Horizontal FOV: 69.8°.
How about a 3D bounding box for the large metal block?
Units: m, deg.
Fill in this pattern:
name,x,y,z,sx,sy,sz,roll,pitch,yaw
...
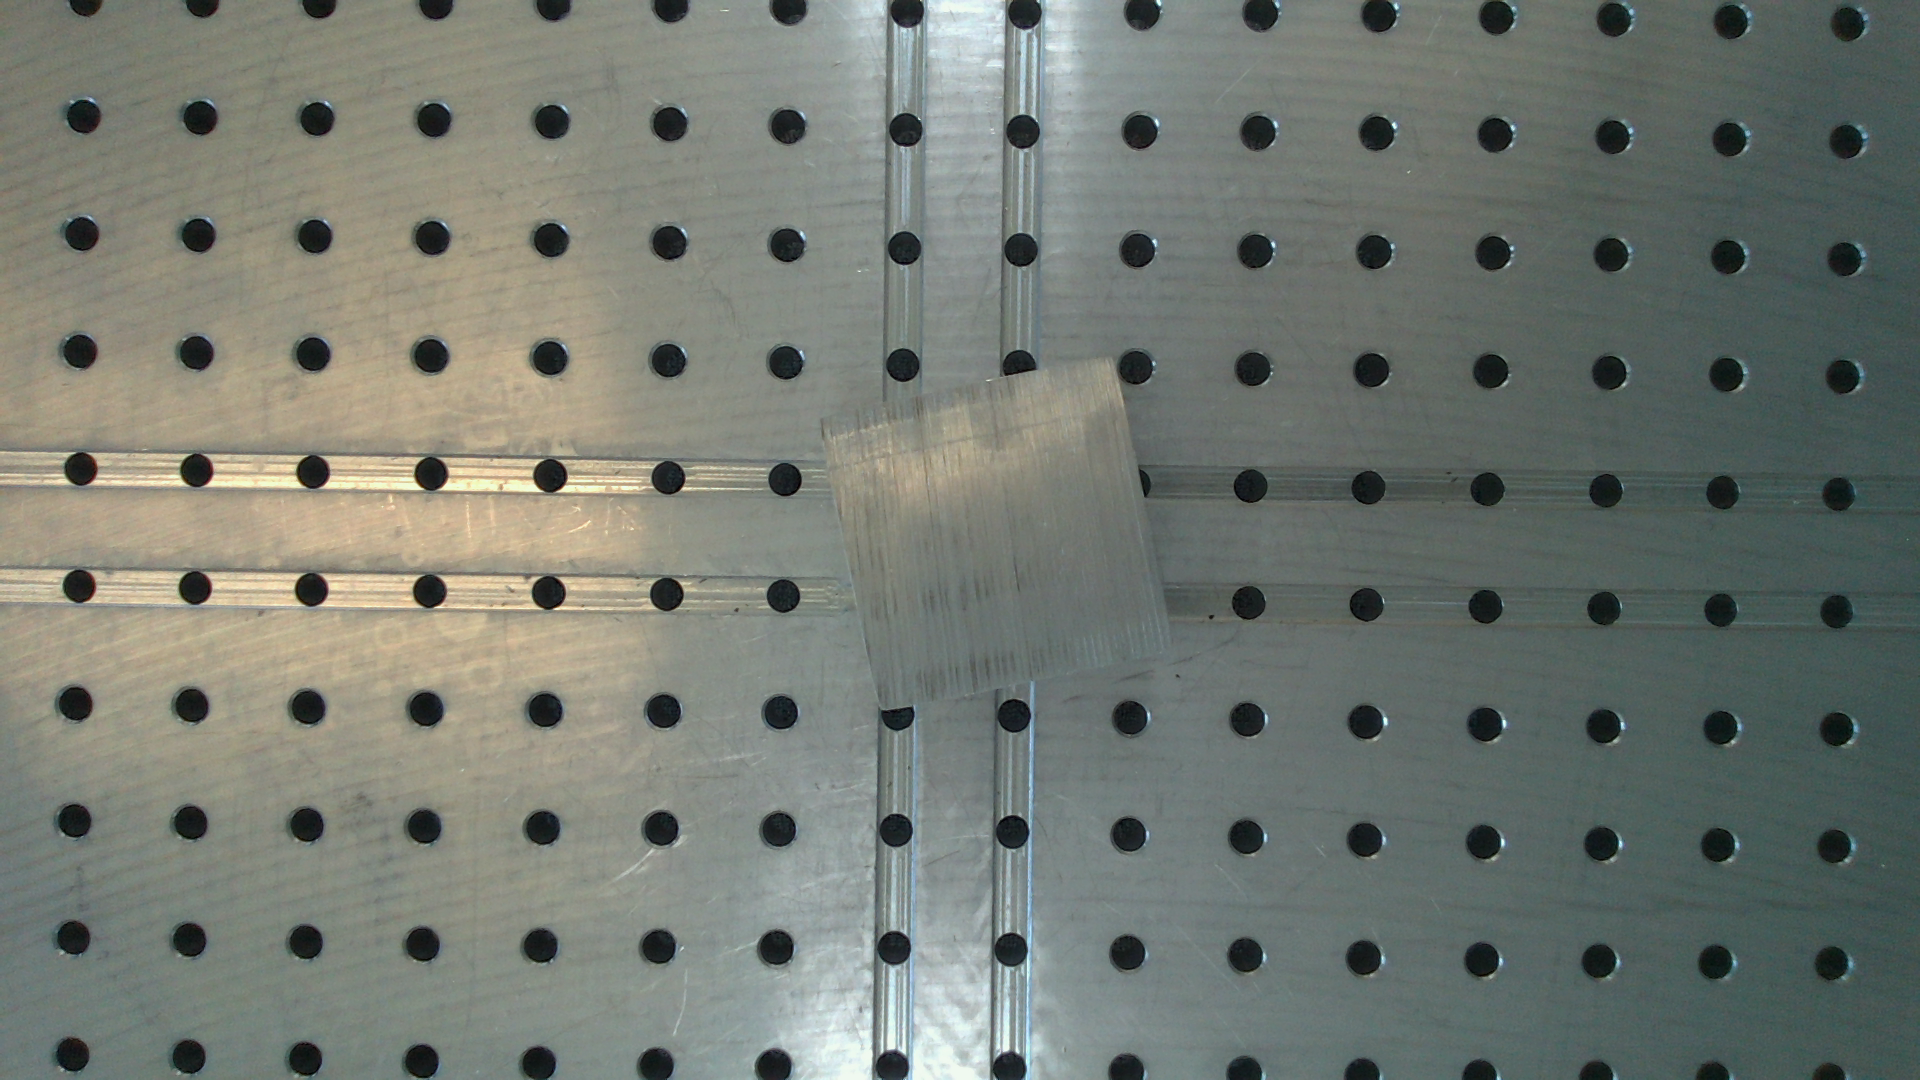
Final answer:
name,x,y,z,sx,sy,sz,roll,pitch,yaw
large metal block,0.010,-0.002,0.384,0.080,0.050,0.080,-12,90,0
